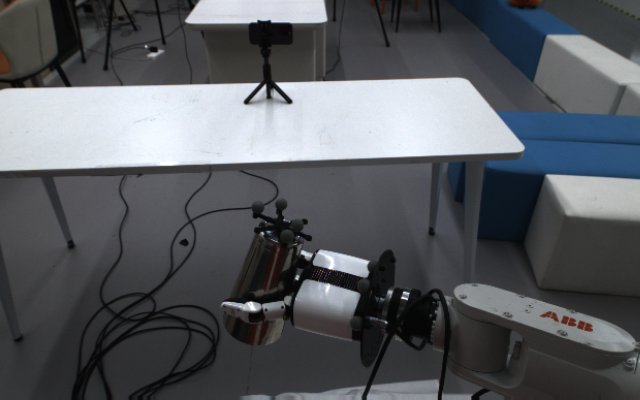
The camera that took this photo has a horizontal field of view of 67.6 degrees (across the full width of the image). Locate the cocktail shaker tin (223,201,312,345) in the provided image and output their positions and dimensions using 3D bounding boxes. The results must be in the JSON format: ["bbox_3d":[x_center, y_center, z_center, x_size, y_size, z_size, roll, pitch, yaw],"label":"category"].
[{"bbox_3d":[-0.075,0.110,0.690,0.093,0.170,0.093,15,27,-8],"label":"cocktail shaker tin"}]
